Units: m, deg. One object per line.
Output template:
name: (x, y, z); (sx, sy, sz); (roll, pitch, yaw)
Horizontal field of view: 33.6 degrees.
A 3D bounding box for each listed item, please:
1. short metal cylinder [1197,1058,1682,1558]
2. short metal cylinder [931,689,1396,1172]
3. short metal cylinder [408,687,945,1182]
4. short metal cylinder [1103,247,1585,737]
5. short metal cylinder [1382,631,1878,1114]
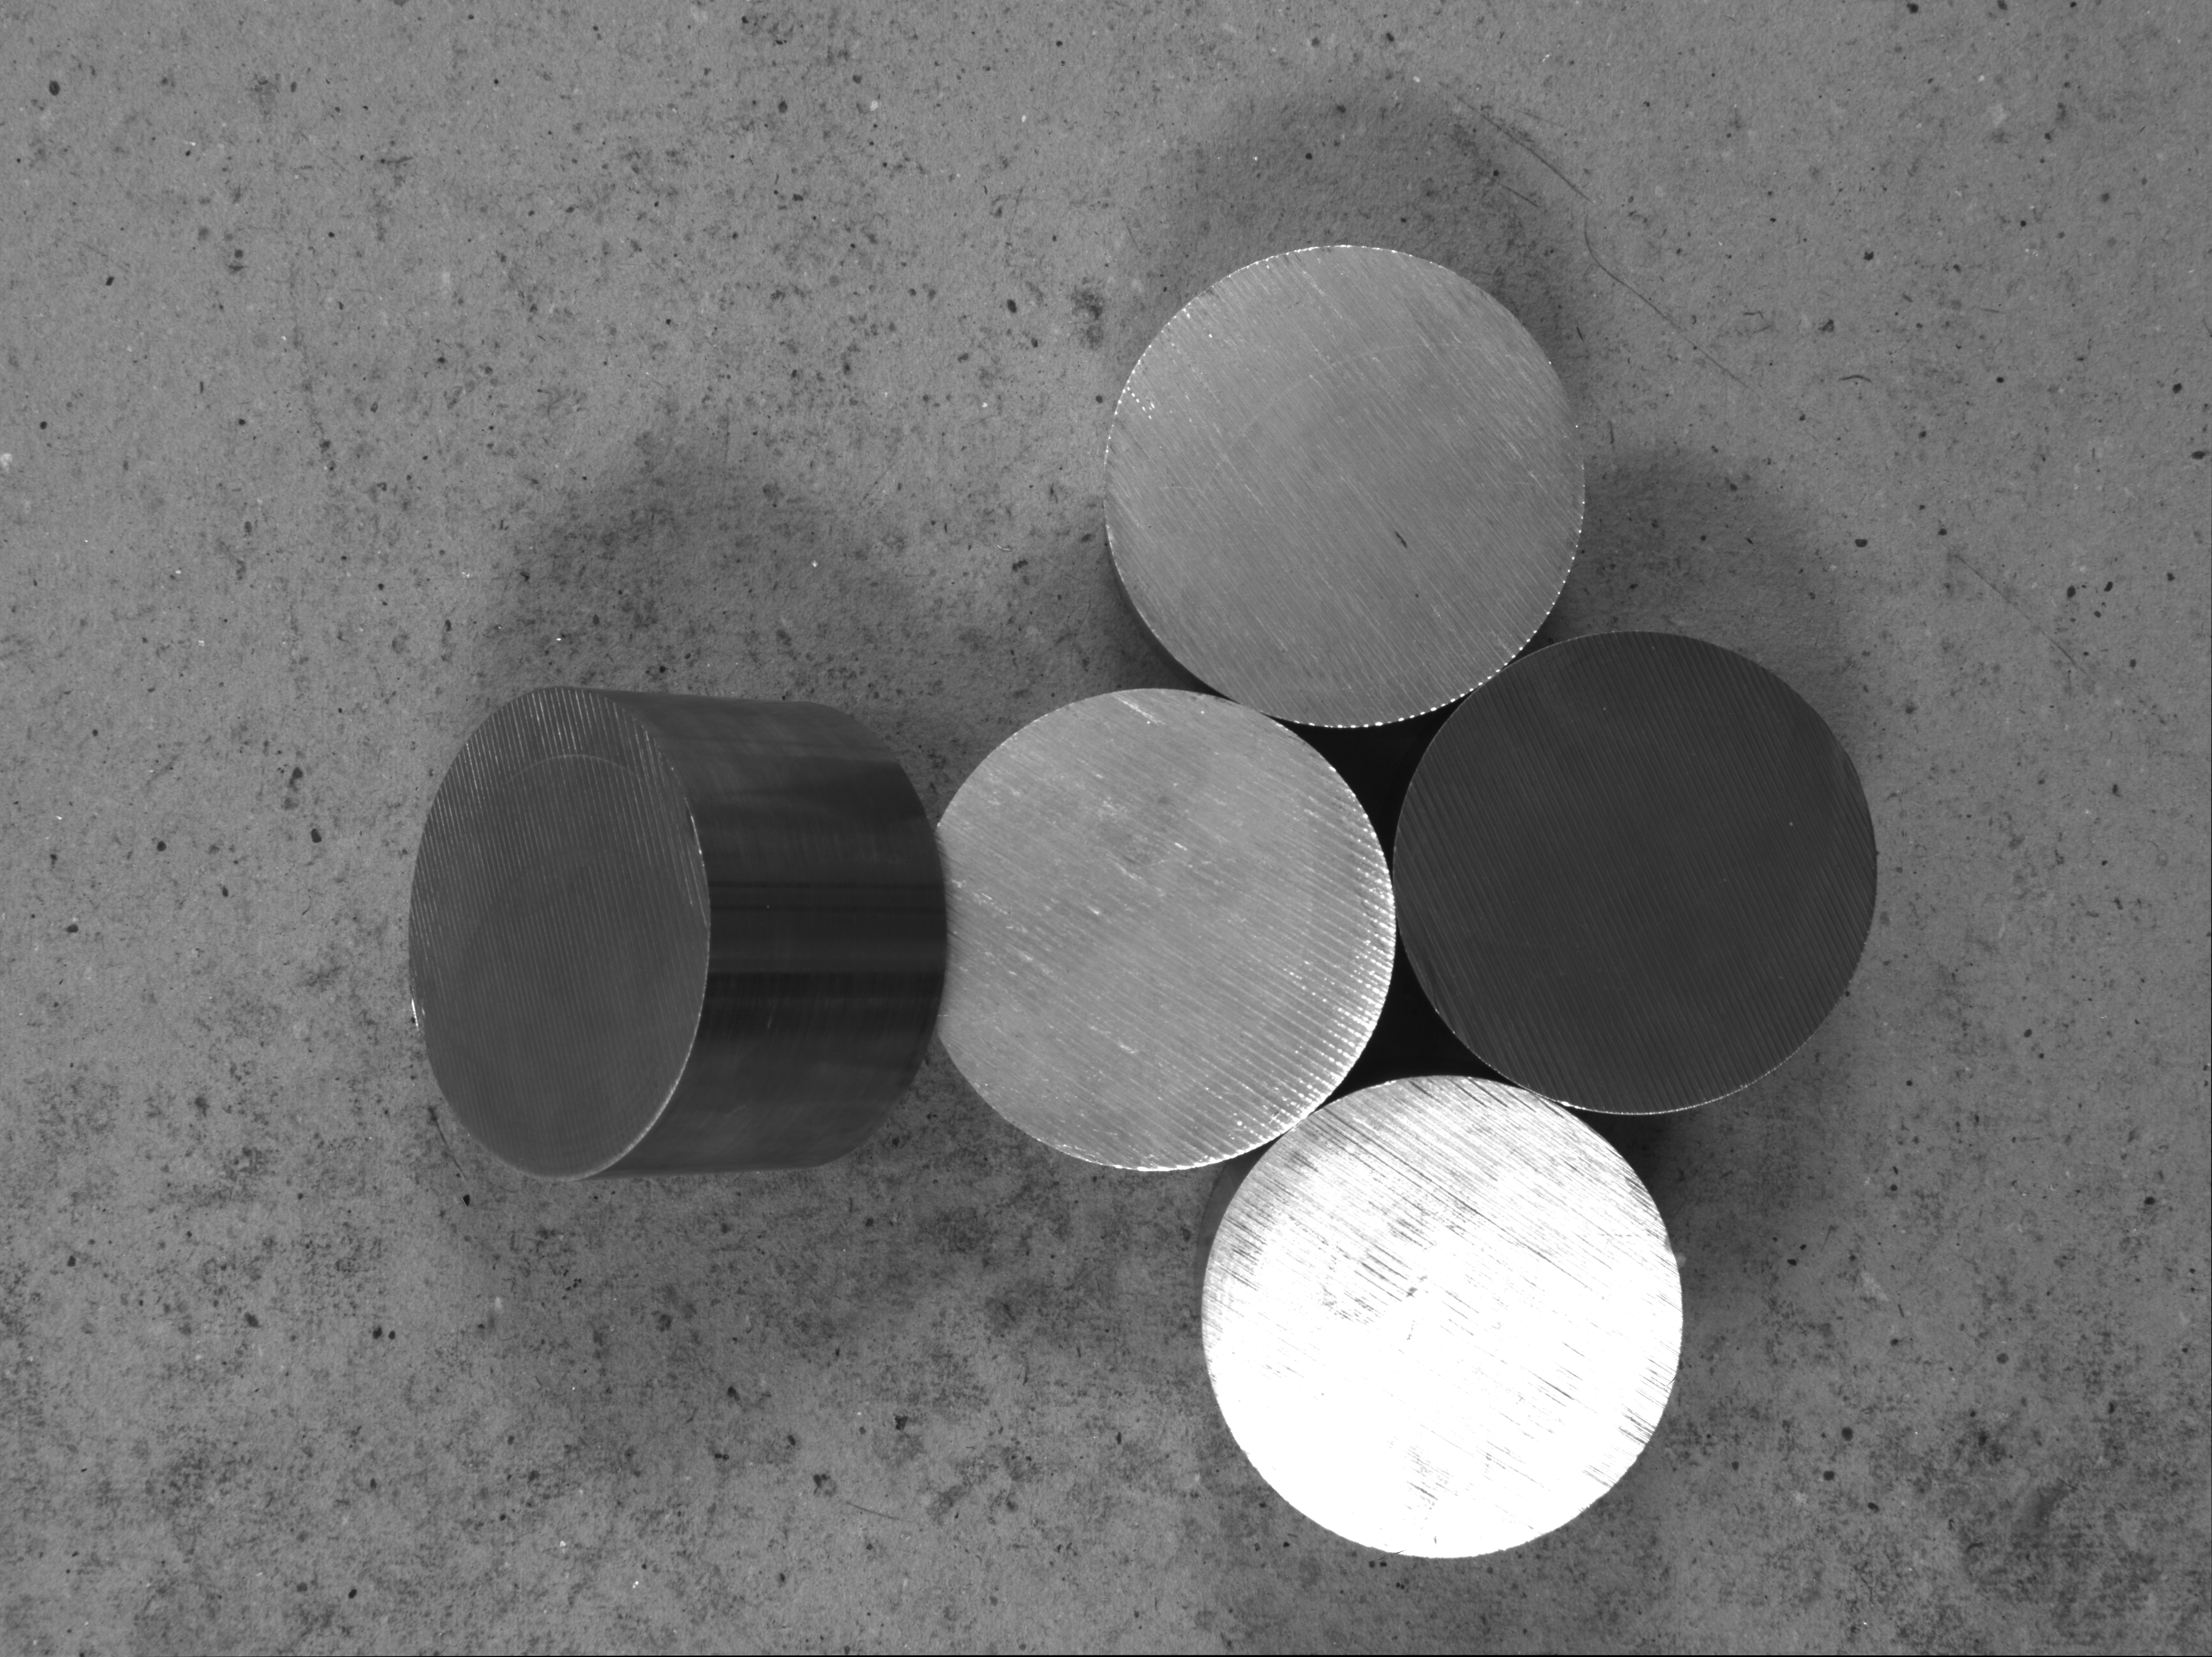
short metal cylinder: (0.056, 0.081, 0.633); (0.080, 0.050, 0.080); (0, 90, 0)
short metal cylinder: (0.008, 0.017, 0.633); (0.080, 0.050, 0.080); (0, 90, 0)
short metal cylinder: (-0.072, 0.018, 0.612); (0.080, 0.050, 0.080); (-2, 87, 44)
short metal cylinder: (0.040, -0.056, 0.633); (0.080, 0.050, 0.080); (0, 90, 0)
short metal cylinder: (0.088, 0.007, 0.633); (0.080, 0.050, 0.080); (0, 90, 0)
